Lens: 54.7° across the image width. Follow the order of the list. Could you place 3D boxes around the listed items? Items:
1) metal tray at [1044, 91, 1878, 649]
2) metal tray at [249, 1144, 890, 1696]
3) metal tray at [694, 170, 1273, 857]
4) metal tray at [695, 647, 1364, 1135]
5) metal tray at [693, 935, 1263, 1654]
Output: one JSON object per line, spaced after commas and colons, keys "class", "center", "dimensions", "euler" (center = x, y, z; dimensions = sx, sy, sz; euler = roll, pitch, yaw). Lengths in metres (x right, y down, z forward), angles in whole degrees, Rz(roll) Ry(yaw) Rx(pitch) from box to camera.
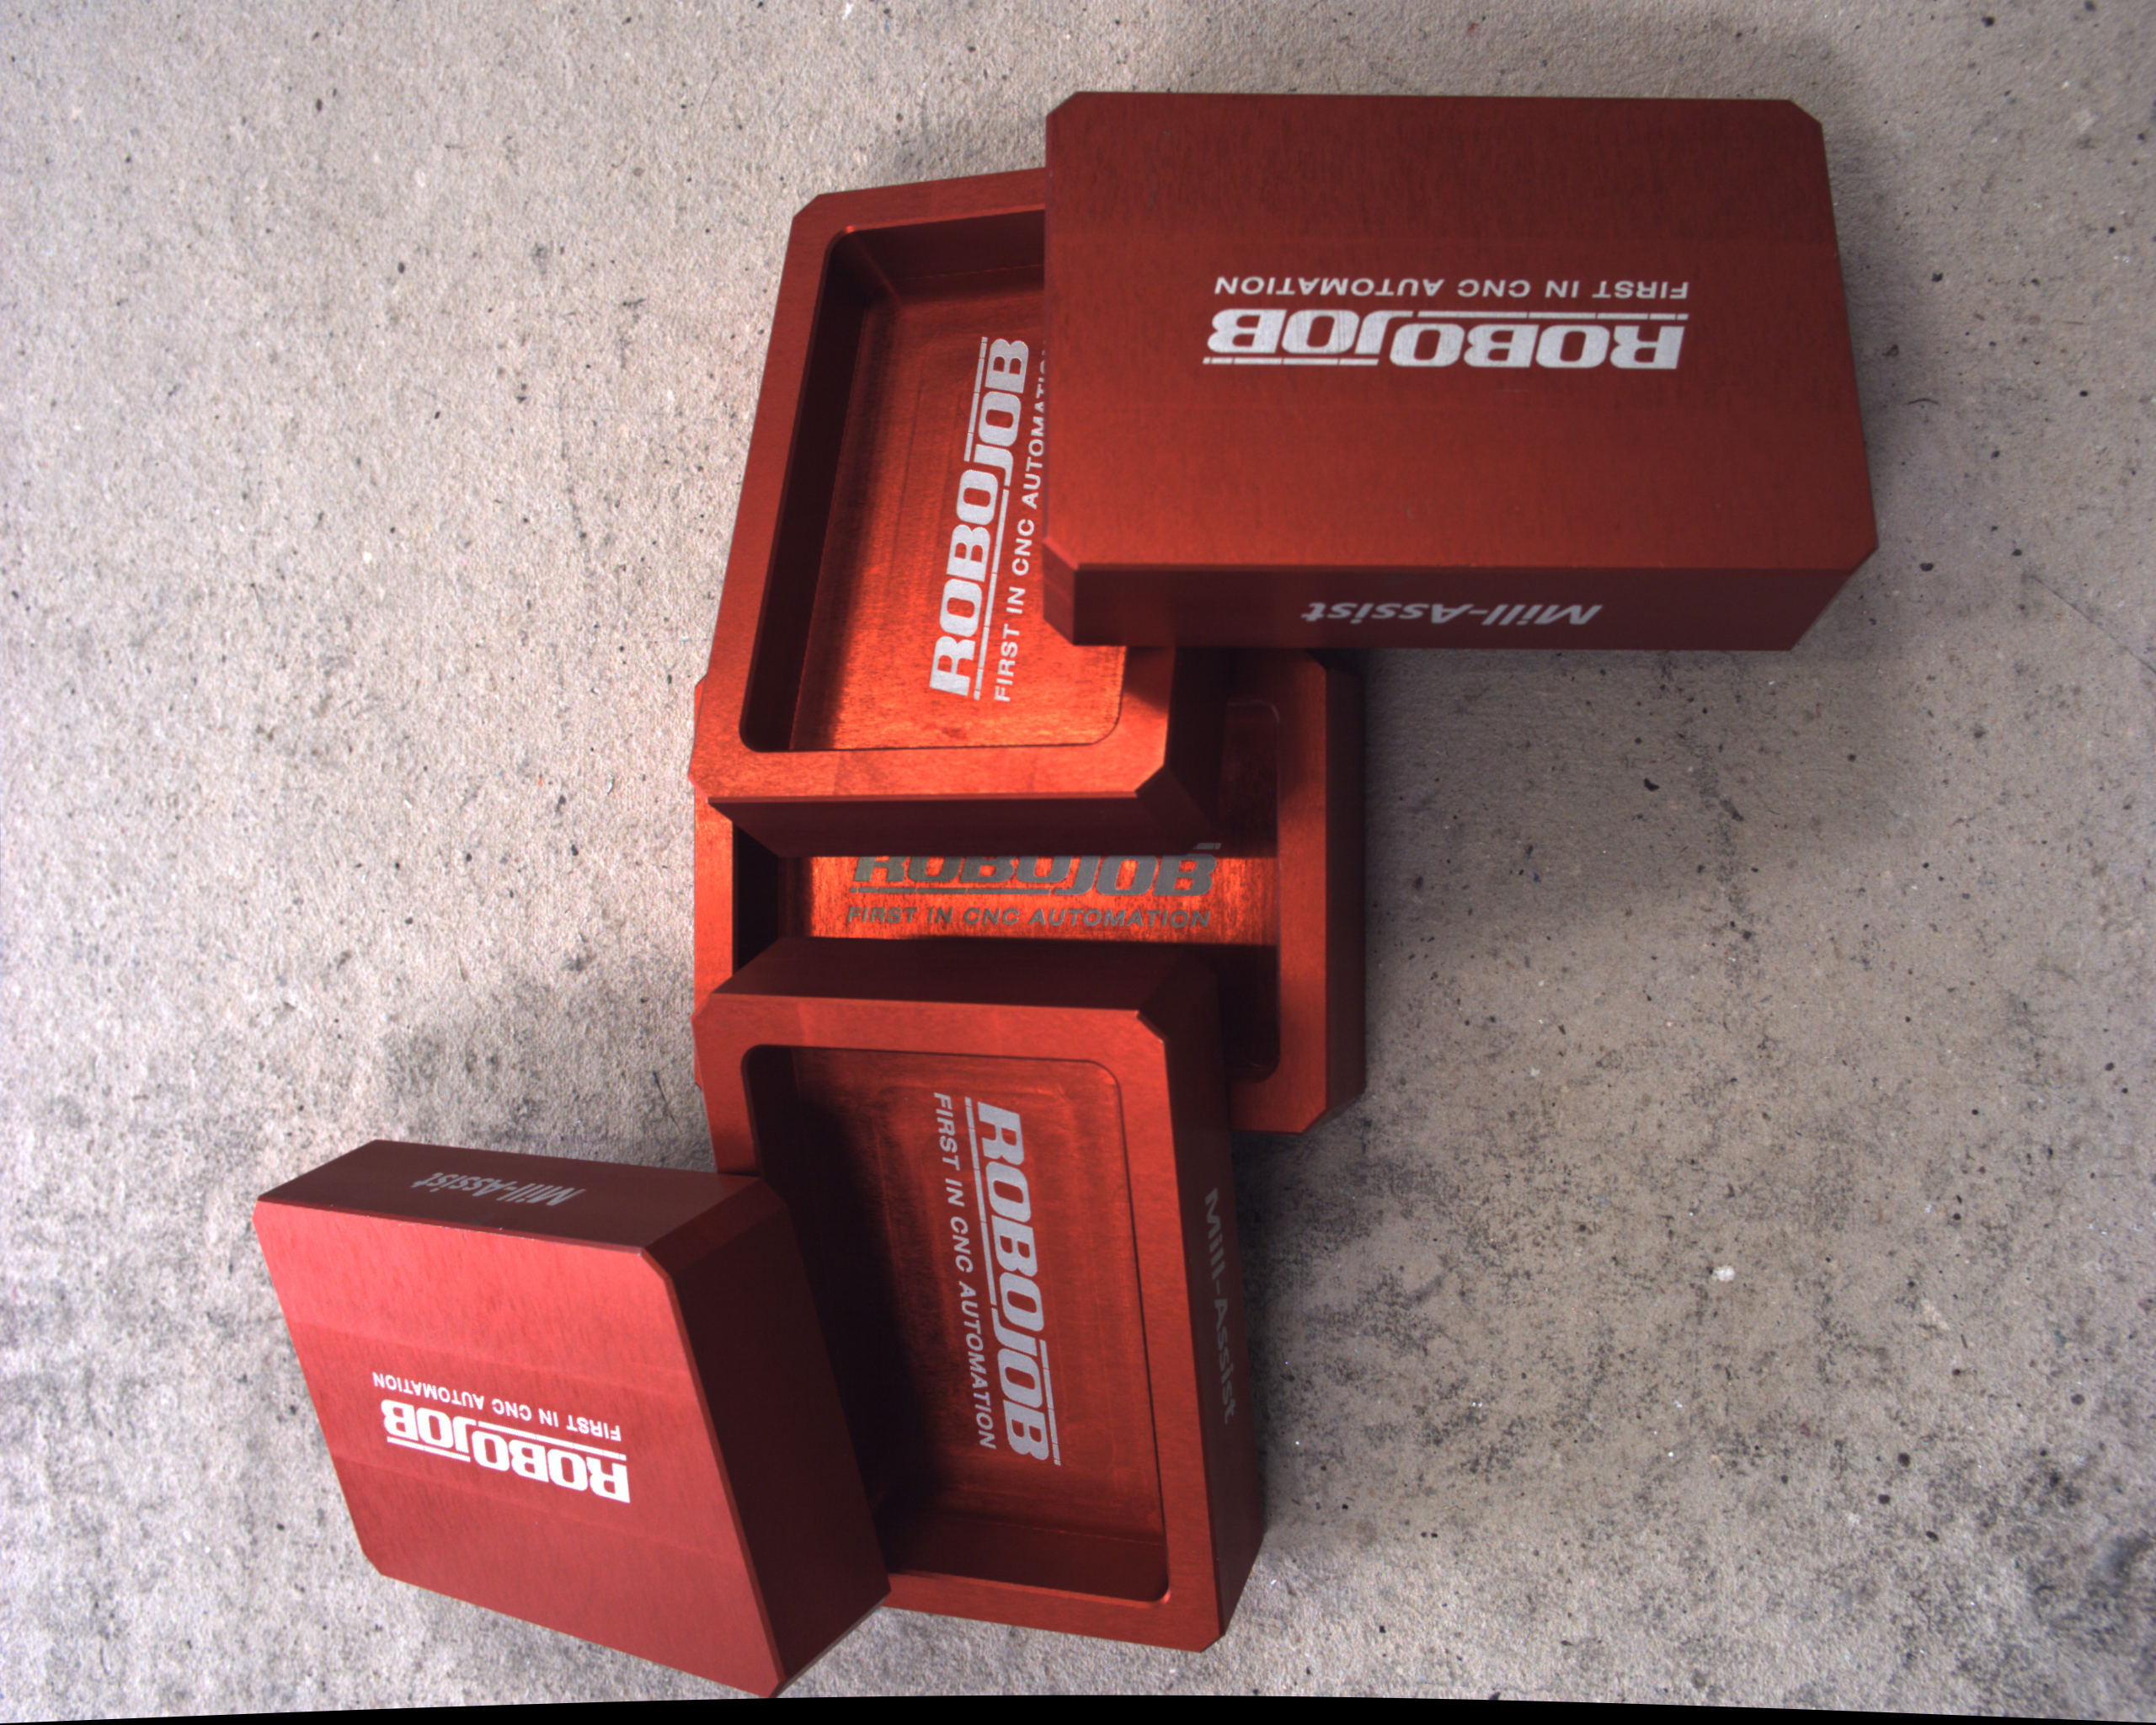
{"class": "metal tray", "center": [0.060, -0.083, 0.352], "dimensions": [0.131, 0.030, 0.090], "euler": [0, 71, -1]}
{"class": "metal tray", "center": [-0.104, 0.105, 0.413], "dimensions": [0.130, 0.030, 0.089], "euler": [-2, 106, 37]}
{"class": "metal tray", "center": [-0.015, -0.067, 0.391], "dimensions": [0.090, 0.030, 0.130], "euler": [0, 70, 19]}
{"class": "metal tray", "center": [-0.011, 0.004, 0.412], "dimensions": [0.130, 0.030, 0.089], "euler": [0, 90, 20]}
{"class": "metal tray", "center": [-0.017, 0.080, 0.392], "dimensions": [0.090, 0.030, 0.129], "euler": [1, 109, 20]}
